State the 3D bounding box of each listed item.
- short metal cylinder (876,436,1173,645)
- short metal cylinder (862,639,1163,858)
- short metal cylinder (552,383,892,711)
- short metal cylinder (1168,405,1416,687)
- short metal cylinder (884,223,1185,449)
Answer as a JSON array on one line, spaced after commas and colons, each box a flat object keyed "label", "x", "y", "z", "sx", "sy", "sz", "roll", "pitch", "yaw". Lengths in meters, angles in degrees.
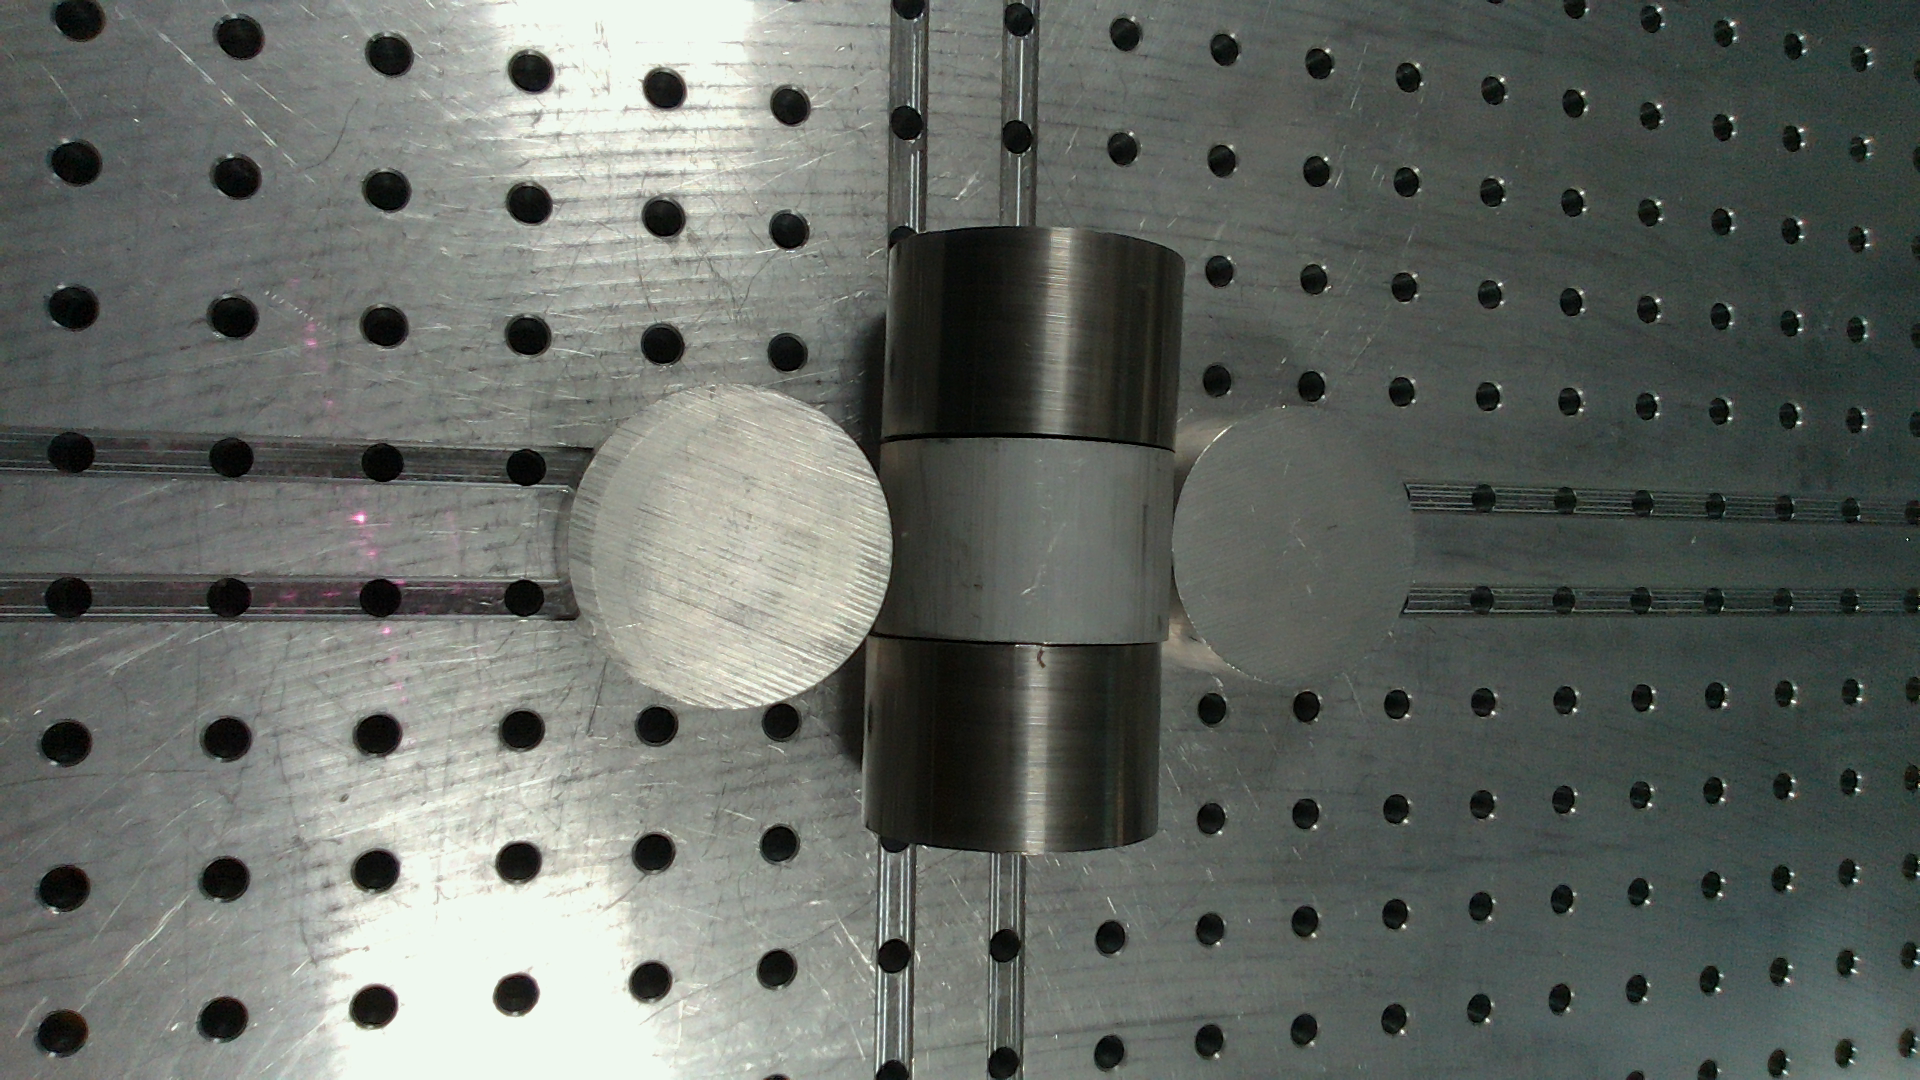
[{"label": "short metal cylinder", "x": 0.017, "y": 0.000, "z": 0.373, "sx": 0.080, "sy": 0.080, "sz": 0.050, "roll": 2, "pitch": 89, "yaw": -20}, {"label": "short metal cylinder", "x": 0.014, "y": 0.052, "z": 0.372, "sx": 0.080, "sy": 0.080, "sz": 0.050, "roll": 1, "pitch": 90, "yaw": -20}, {"label": "short metal cylinder", "x": -0.063, "y": 0.002, "z": 0.359, "sx": 0.080, "sy": 0.050, "sz": 0.080, "roll": 0, "pitch": 90, "yaw": -20}, {"label": "short metal cylinder", "x": 0.088, "y": 0.002, "z": 0.414, "sx": 0.080, "sy": 0.050, "sz": 0.080, "roll": 0, "pitch": 90, "yaw": -20}, {"label": "short metal cylinder", "x": 0.020, "y": -0.051, "z": 0.373, "sx": 0.080, "sy": 0.080, "sz": 0.050, "roll": 3, "pitch": 89, "yaw": -20}]
